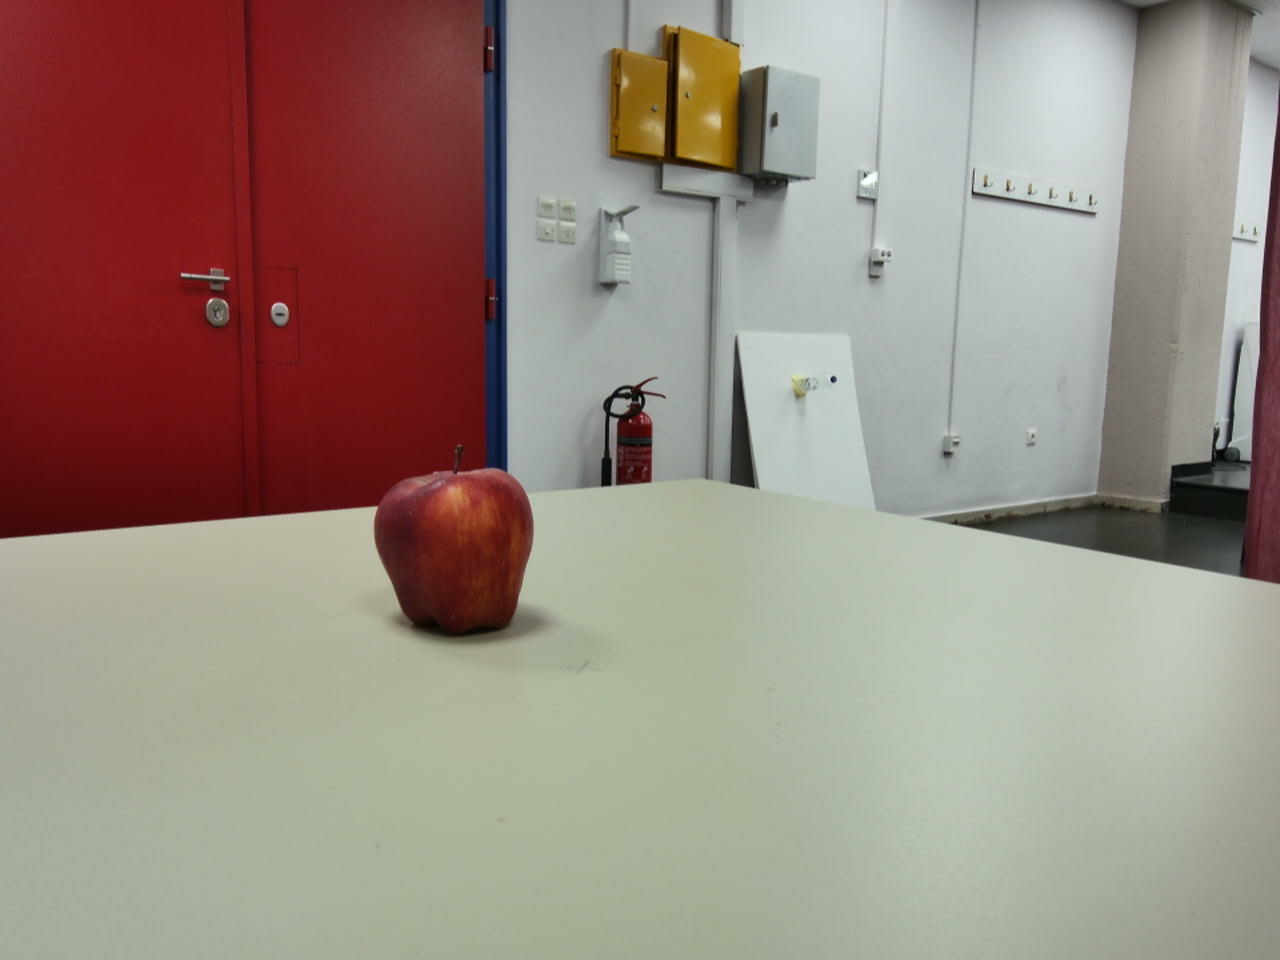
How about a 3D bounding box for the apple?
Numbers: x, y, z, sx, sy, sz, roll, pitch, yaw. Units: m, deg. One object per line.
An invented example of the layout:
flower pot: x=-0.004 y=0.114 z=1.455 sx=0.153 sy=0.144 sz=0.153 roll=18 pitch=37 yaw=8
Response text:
apple: x=-0.093 y=0.029 z=0.506 sx=0.083 sy=0.090 sz=0.083 roll=2 pitch=6 yaw=0
